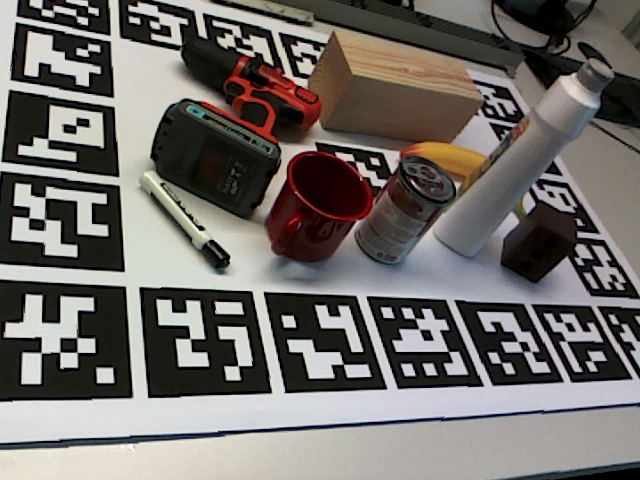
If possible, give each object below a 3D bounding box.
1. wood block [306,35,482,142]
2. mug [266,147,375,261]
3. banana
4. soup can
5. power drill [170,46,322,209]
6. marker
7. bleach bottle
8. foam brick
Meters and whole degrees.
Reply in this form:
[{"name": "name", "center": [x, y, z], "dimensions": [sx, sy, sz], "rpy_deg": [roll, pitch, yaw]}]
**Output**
[{"name": "wood block", "center": [0.098, -0.195, 0.832], "dimensions": [0.205, 0.091, 0.090], "rpy_deg": [3, 51, -28]}, {"name": "mug", "center": [-0.009, -0.025, 0.616], "dimensions": [0.093, 0.081, 0.117], "rpy_deg": [37, 46, 2]}, {"name": "banana", "center": [0.183, -0.107, 0.833], "dimensions": [0.196, 0.039, 0.074], "rpy_deg": [18, 58, -18]}, {"name": "soup can", "center": [0.091, -0.032, 0.658], "dimensions": [0.067, 0.102, 0.068], "rpy_deg": [18, 40, -16]}, {"name": "power drill", "center": [-0.095, -0.132, 0.690], "dimensions": [0.184, 0.057, 0.187], "rpy_deg": [28, 41, -10]}, {"name": "marker", "center": [-0.124, -0.009, 0.584], "dimensions": [0.019, 0.019, 0.121], "rpy_deg": [-29, 70, -41]}, {"name": "bleach bottle", "center": [0.220, -0.092, 0.687], "dimensions": [0.068, 0.251, 0.103], "rpy_deg": [26, 42, -7]}, {"name": "foam brick", "center": [0.266, 0.003, 0.757], "dimensions": [0.053, 0.078, 0.051], "rpy_deg": [28, 41, -2]}]
